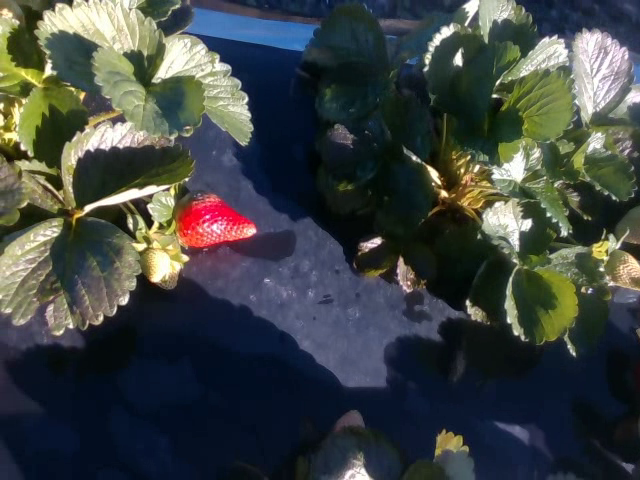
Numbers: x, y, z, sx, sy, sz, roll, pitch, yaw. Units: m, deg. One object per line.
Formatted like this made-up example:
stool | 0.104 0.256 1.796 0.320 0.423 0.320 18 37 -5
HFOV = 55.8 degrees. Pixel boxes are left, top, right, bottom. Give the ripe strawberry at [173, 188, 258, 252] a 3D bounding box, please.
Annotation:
ripe strawberry | -0.073 -0.012 0.420 0.064 0.050 0.052 10 10 -5
